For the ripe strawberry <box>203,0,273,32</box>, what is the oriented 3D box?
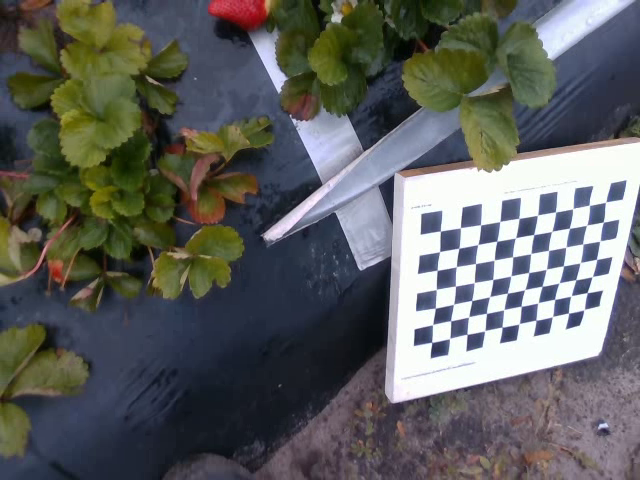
[{"bbox_3d":[-0.062,-0.191,0.531,0.051,0.042,0.038,-13,33,-16],"label":"ripe strawberry"}]
